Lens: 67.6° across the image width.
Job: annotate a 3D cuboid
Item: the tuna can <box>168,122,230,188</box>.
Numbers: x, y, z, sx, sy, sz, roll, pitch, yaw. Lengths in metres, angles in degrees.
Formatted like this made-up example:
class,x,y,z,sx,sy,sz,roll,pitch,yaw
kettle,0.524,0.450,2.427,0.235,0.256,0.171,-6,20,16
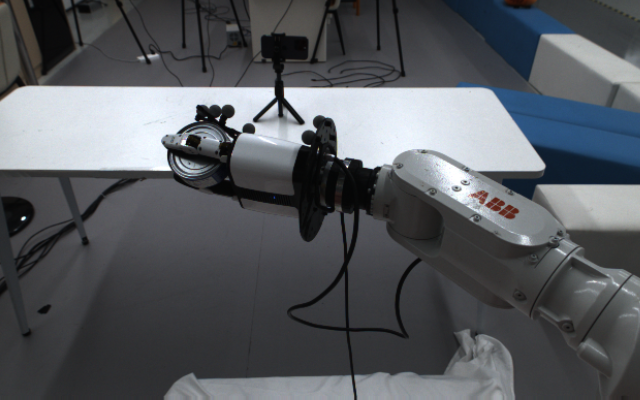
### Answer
class,x,y,z,sx,sy,sz,roll,pitch,yaw
tuna can,-0.157,-0.061,0.651,0.085,0.034,0.085,-4,67,10
